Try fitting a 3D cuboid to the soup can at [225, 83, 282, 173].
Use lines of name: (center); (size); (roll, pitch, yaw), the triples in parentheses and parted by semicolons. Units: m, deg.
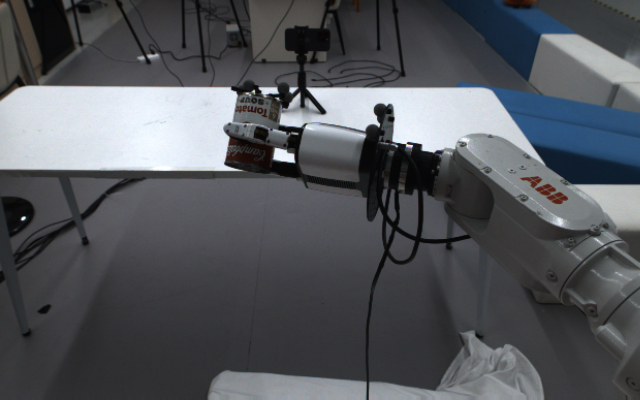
soup can: (-0.095, -0.094, 0.693); (0.067, 0.101, 0.067); (9, -5, 1)
